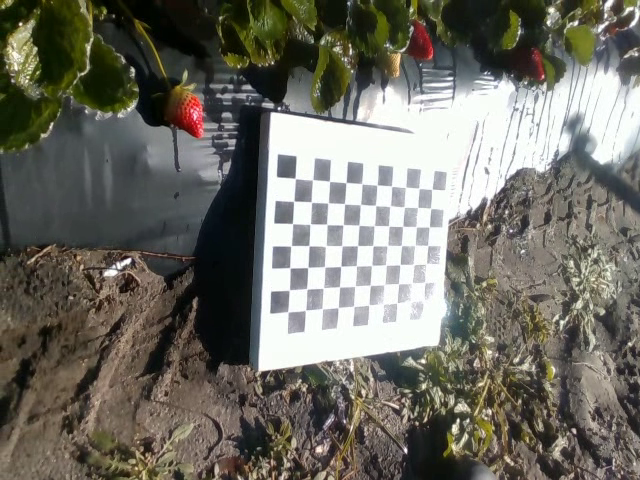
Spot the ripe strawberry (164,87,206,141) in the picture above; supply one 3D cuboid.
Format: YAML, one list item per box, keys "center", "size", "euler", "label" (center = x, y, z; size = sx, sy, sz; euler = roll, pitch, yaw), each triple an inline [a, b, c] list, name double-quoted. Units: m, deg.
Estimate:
- center: [-0.120, -0.114, 0.570]
  size: [0.039, 0.053, 0.040]
  euler: [-26, 4, -33]
  label: "ripe strawberry"
